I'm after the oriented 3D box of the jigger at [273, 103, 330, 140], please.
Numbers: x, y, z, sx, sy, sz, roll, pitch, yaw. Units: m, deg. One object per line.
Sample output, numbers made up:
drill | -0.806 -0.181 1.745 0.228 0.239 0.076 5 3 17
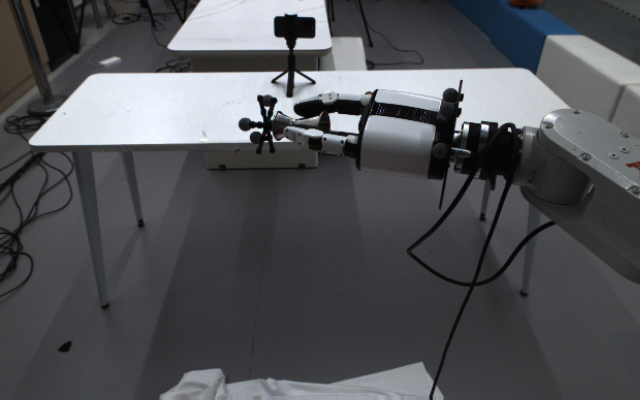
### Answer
jigger | -0.018 -0.104 0.648 0.071 0.043 0.043 5 34 20
